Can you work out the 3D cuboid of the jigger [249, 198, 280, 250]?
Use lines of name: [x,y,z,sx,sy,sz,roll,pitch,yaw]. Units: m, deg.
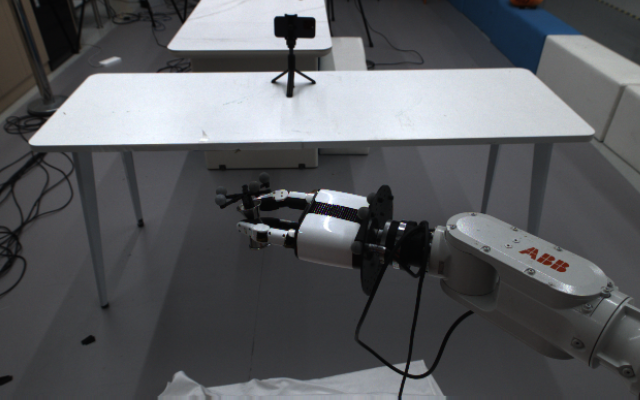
jigger: [-0.099,0.038,0.752,0.043,0.071,0.043,-14,22,6]
